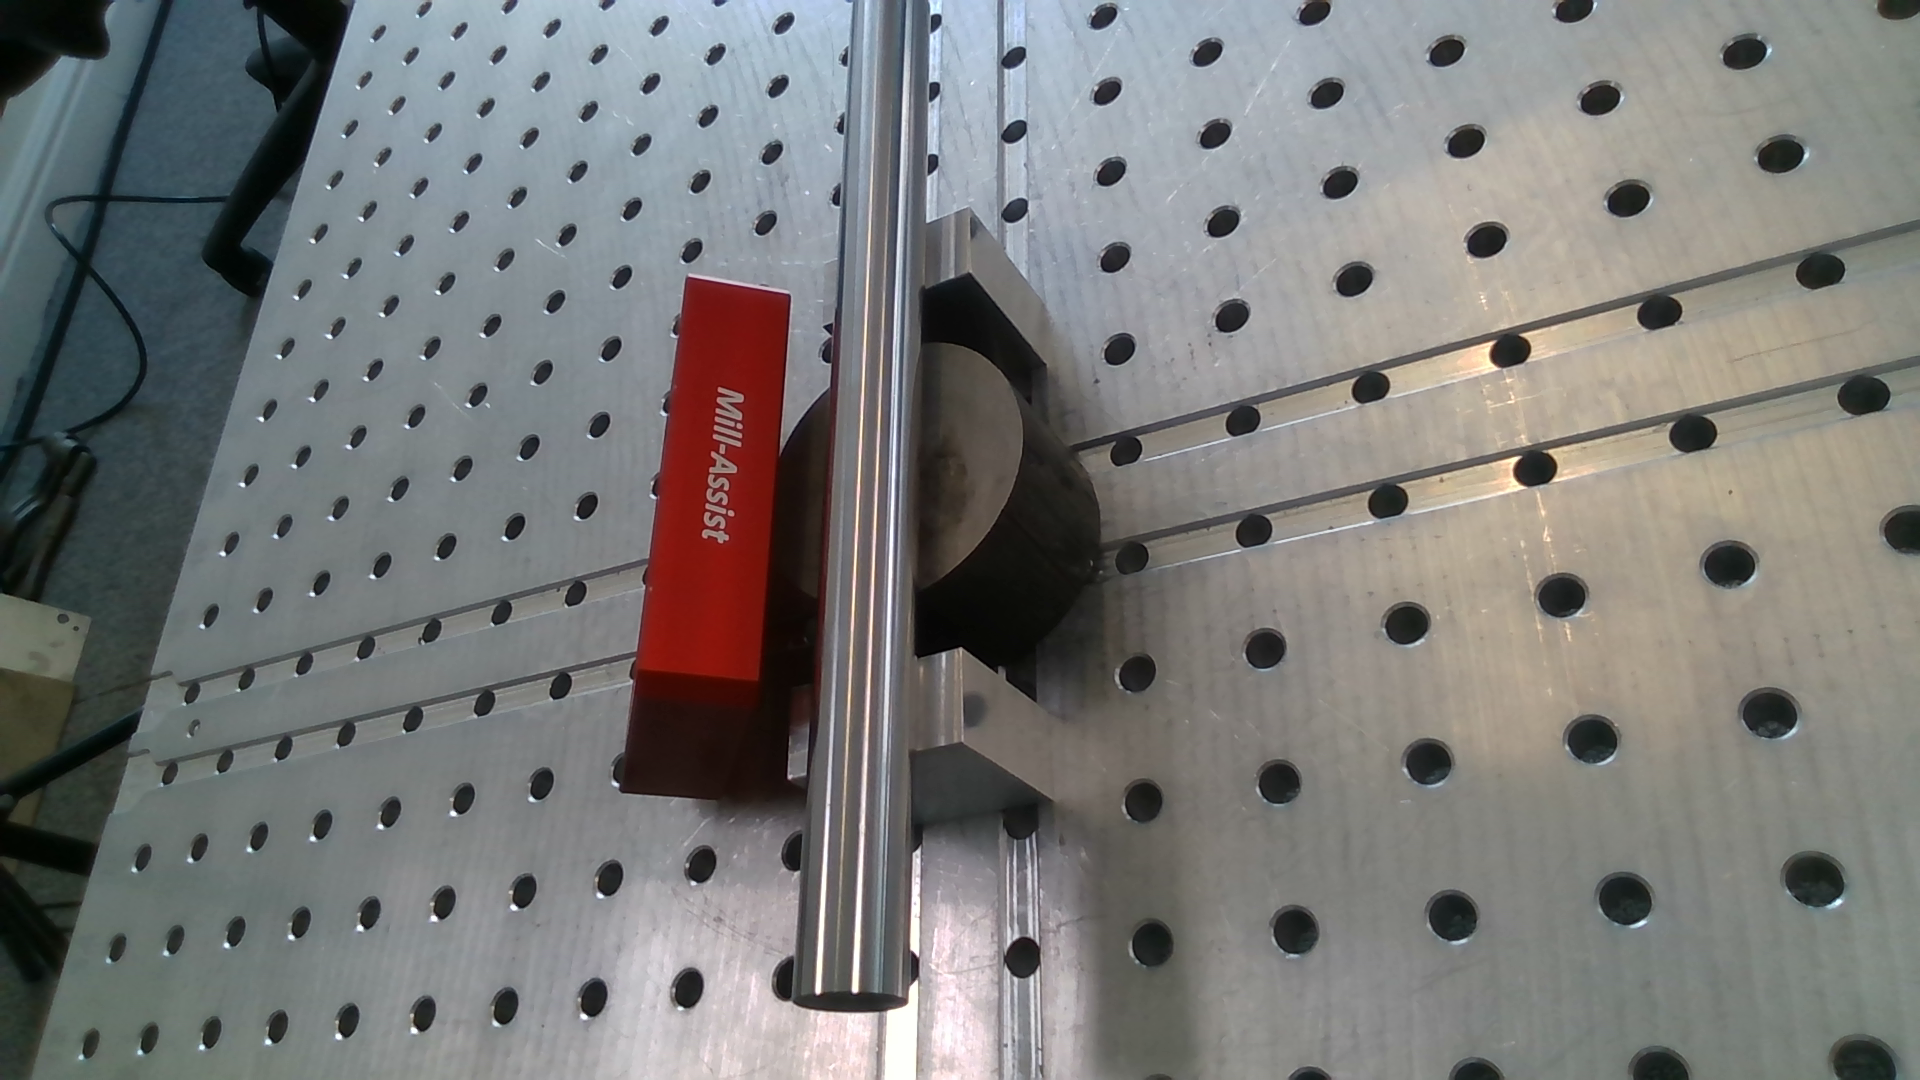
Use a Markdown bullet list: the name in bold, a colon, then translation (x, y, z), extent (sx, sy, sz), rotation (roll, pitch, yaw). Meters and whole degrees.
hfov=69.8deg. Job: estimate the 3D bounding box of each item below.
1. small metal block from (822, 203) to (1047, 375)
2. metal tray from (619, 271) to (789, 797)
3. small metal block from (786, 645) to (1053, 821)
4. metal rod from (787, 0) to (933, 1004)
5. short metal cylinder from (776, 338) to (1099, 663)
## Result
- **small metal block**: translation (-0.007, -0.070, 0.422), extent (0.050, 0.050, 0.025), rotation (-15, 58, 24)
- **metal tray**: translation (-0.075, 0.000, 0.403), extent (0.030, 0.090, 0.130), rotation (7, 61, -13)
- **small metal block**: translation (-0.010, 0.053, 0.358), extent (0.050, 0.050, 0.025), rotation (-15, 58, 24)
- **metal rod**: translation (-0.022, -0.035, 0.364), extent (0.025, 0.025, 0.299), rotation (-14, 59, 25)
- **short metal cylinder**: translation (-0.007, -0.009, 0.389), extent (0.080, 0.050, 0.080), rotation (-14, 59, 25)
